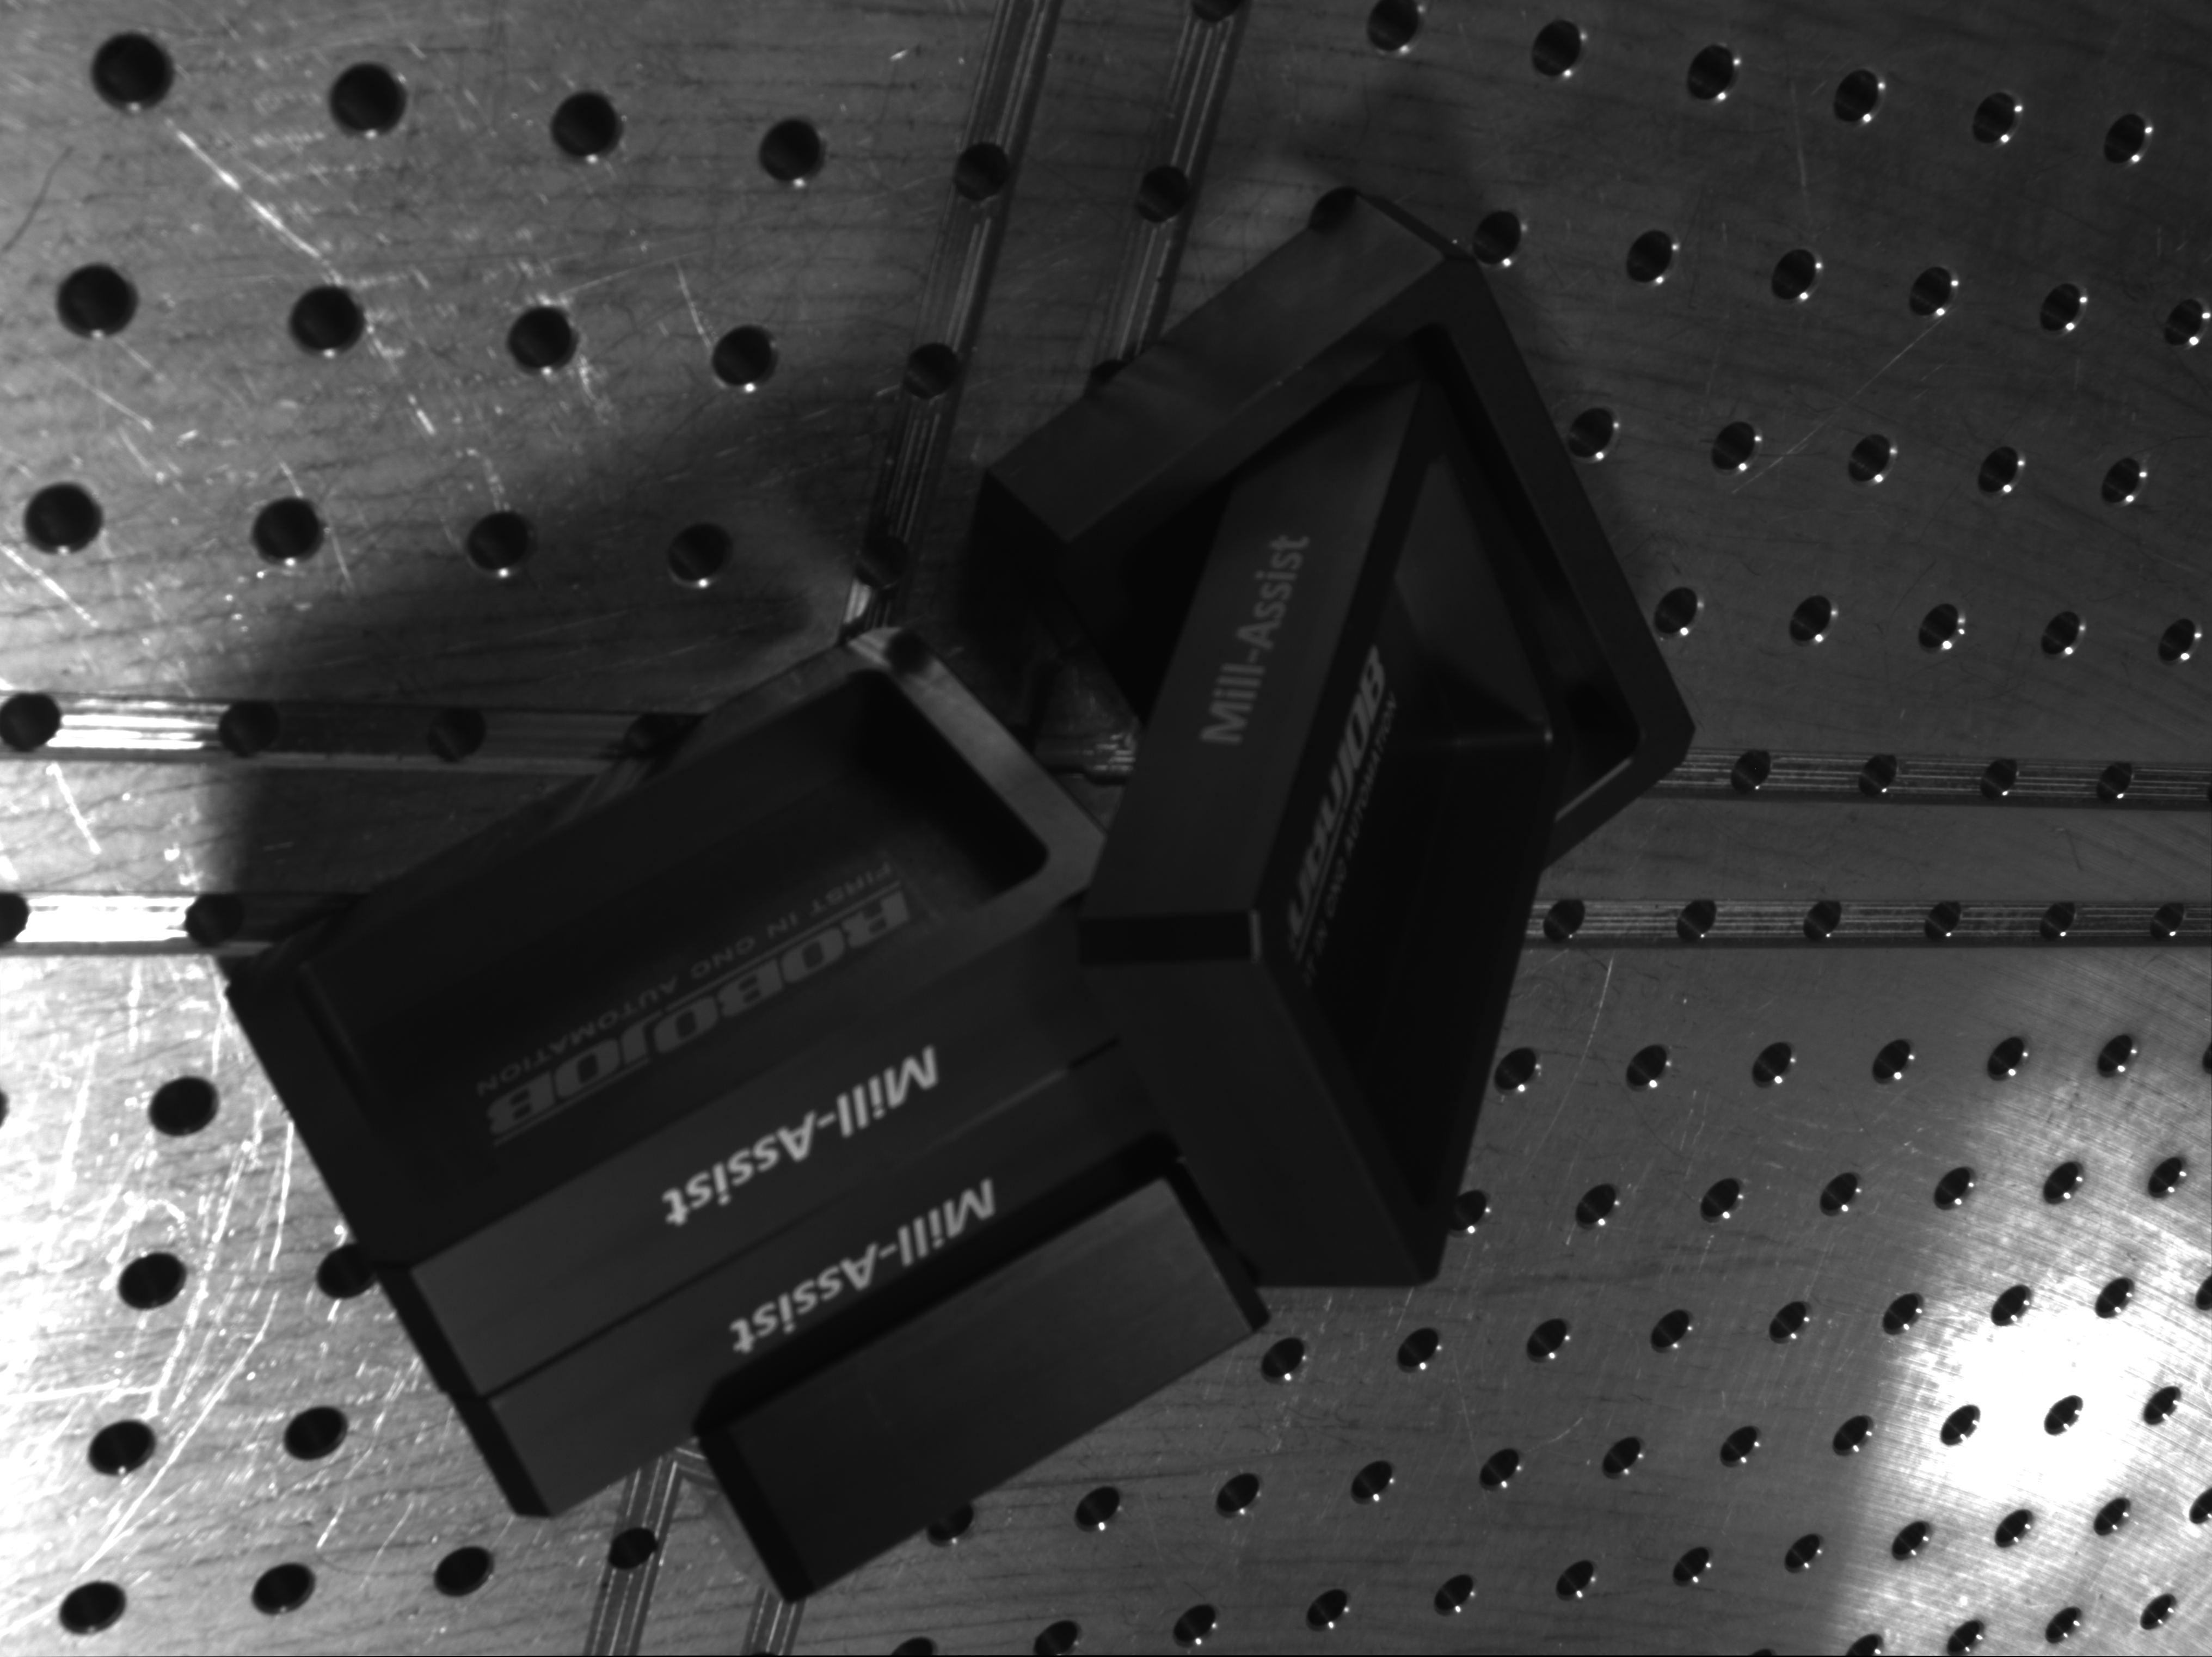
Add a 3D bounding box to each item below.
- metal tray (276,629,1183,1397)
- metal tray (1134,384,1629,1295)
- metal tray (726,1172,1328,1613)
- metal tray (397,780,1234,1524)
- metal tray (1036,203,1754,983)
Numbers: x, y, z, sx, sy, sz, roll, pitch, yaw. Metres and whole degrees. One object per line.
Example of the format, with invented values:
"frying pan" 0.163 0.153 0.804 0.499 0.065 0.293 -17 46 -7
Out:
"metal tray" -0.059 0.026 0.592 0.130 0.090 0.030 -29 129 -12
"metal tray" 0.050 0.001 0.609 0.090 0.030 0.130 62 36 -39
"metal tray" -0.019 0.098 0.643 0.090 0.130 0.030 -29 87 -12
"metal tray" -0.049 0.049 0.611 0.130 0.090 0.030 -29 129 -12
"metal tray" 0.055 -0.035 0.659 0.090 0.030 0.130 -38 130 -5
